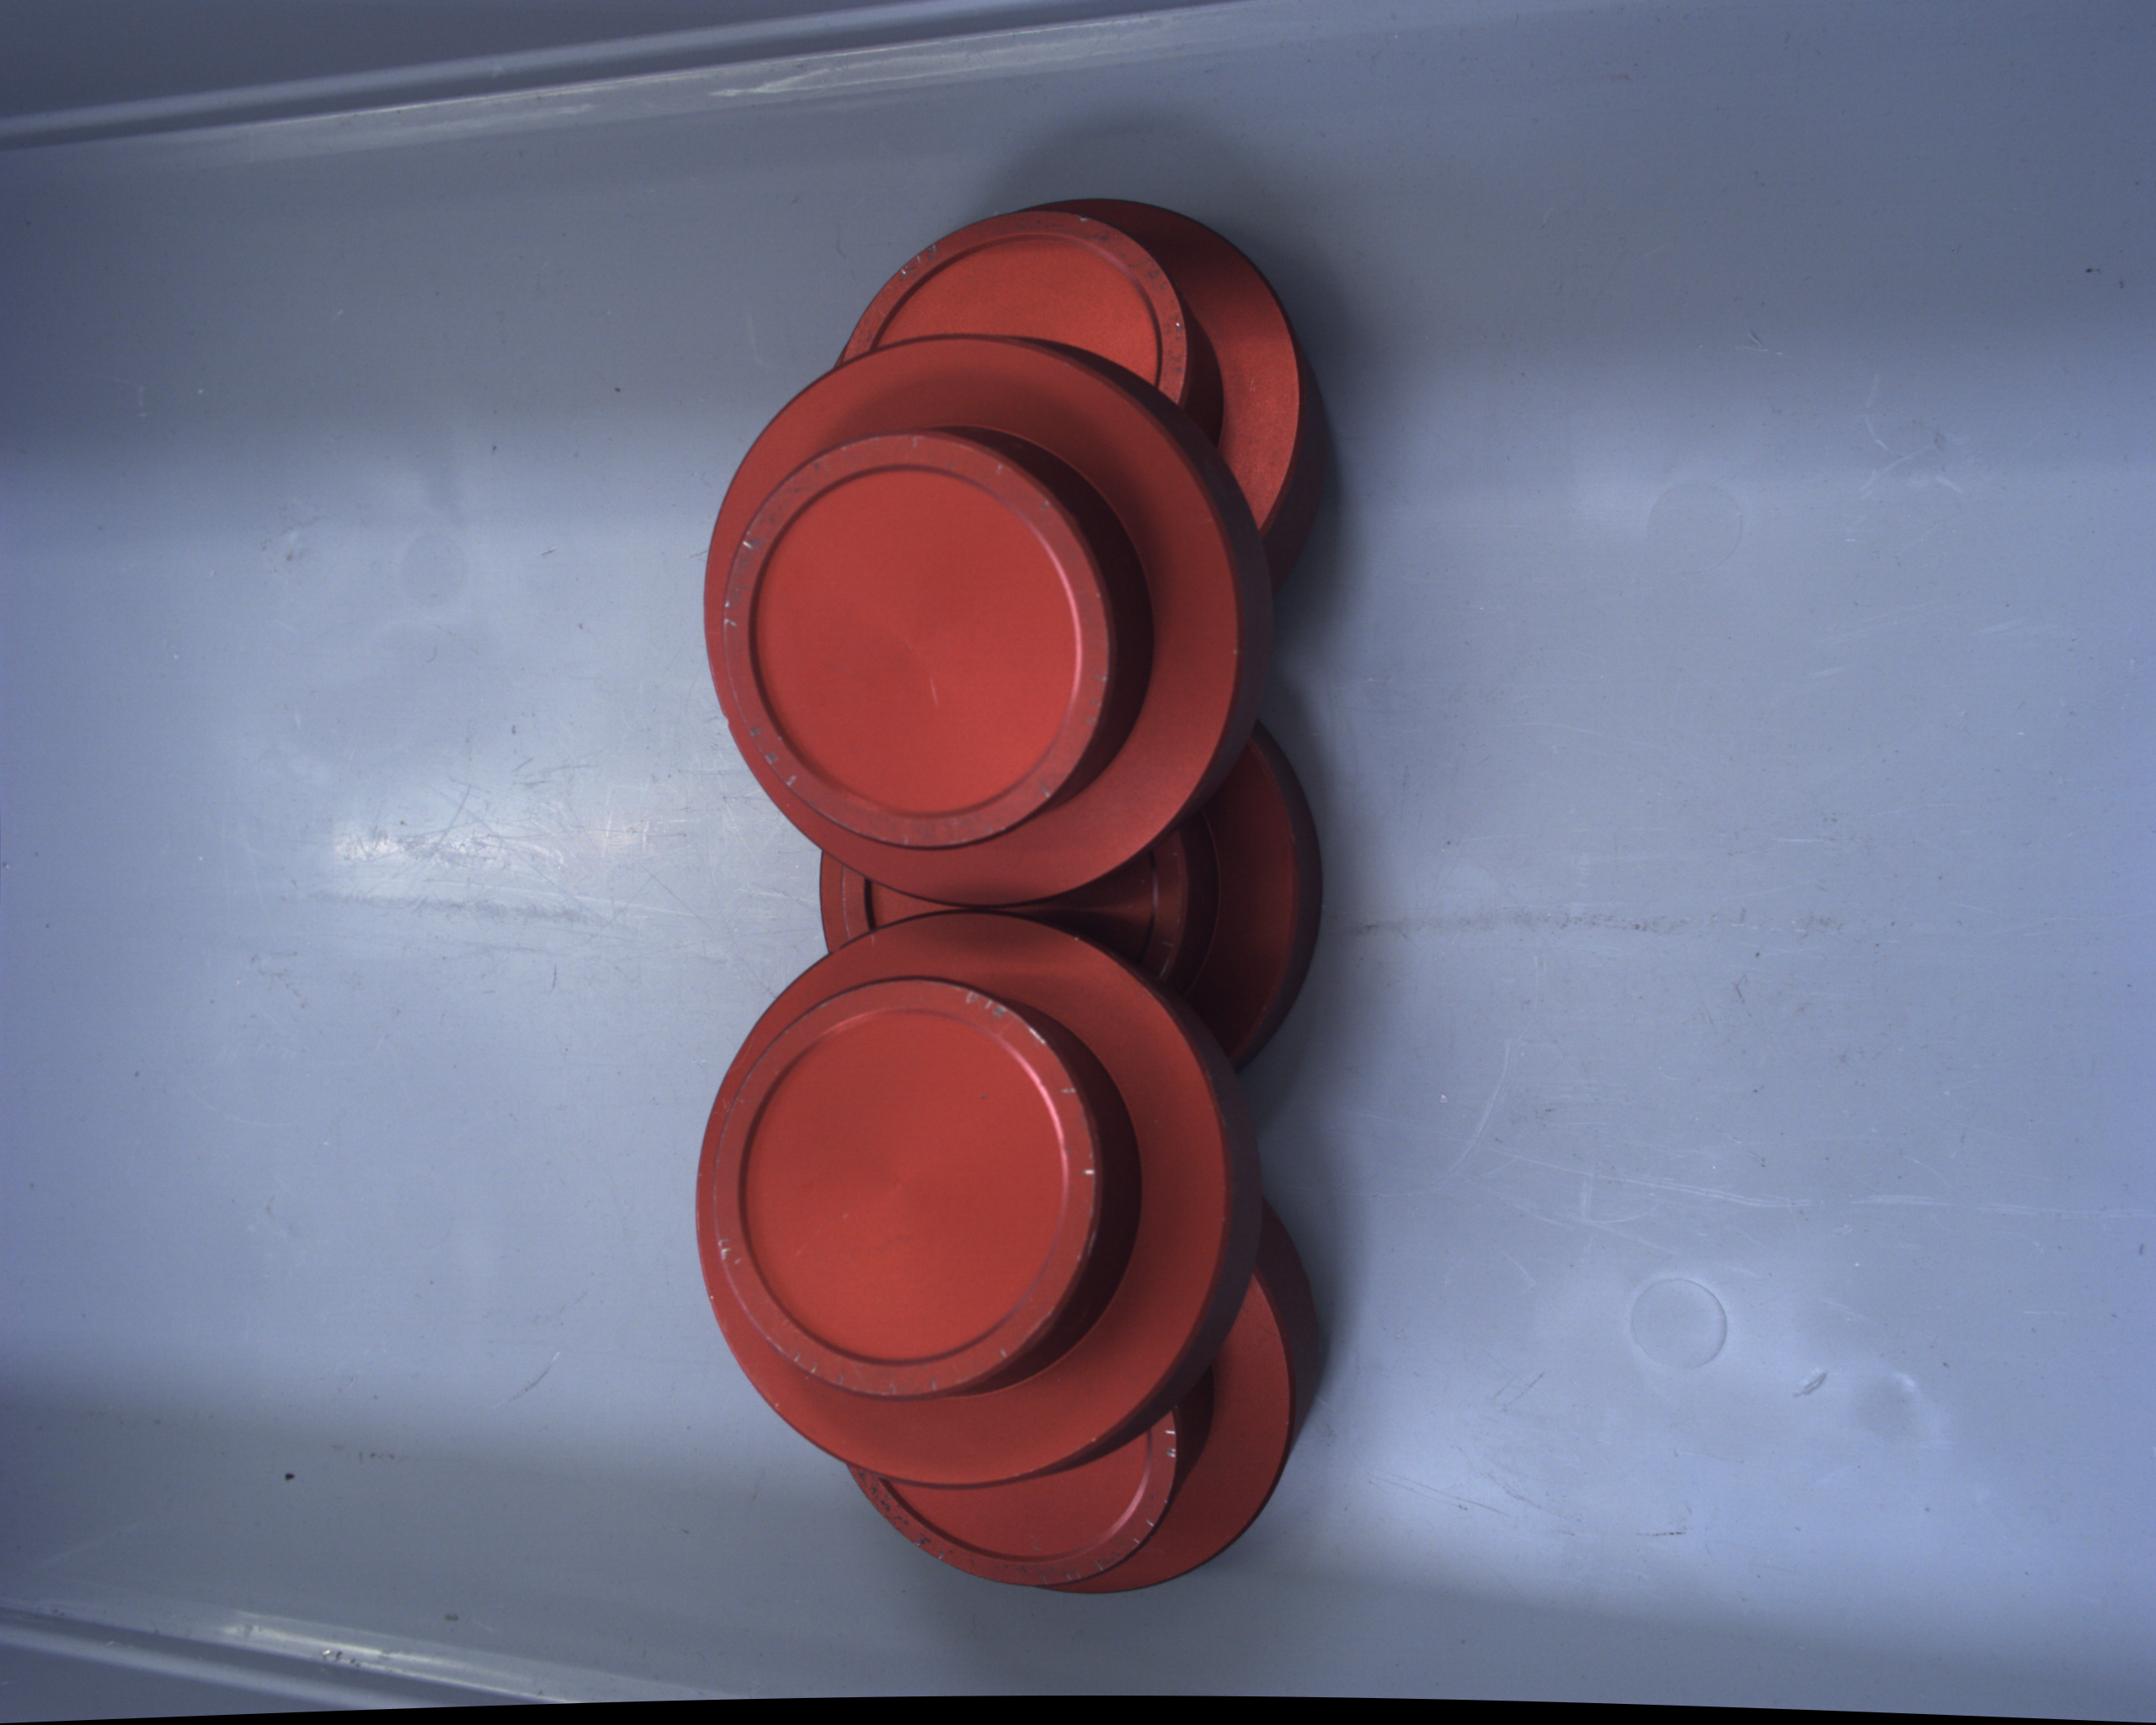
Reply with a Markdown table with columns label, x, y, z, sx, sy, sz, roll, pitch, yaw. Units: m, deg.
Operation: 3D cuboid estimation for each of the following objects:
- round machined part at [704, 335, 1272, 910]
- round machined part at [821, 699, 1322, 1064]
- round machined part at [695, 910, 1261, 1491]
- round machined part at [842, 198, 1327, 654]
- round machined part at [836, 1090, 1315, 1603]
| label | x | y | z | sx | sy | sz | roll | pitch | yaw |
| --- | --- | --- | --- | --- | --- | --- | --- | --- | --- |
| round machined part | -0.020 | -0.039 | 0.352 | 0.098 | 0.042 | 0.097 | 5 | 104 | 19 |
| round machined part | -0.006 | 0.004 | 0.402 | 0.098 | 0.042 | 0.097 | 0 | 89 | 20 |
| round machined part | -0.022 | 0.056 | 0.353 | 0.098 | 0.042 | 0.098 | -4 | 78 | 19 |
| round machined part | -0.006 | -0.082 | 0.390 | 0.098 | 0.042 | 0.098 | -5 | 72 | 18 |
| round machined part | -0.009 | 0.095 | 0.388 | 0.098 | 0.042 | 0.097 | 5 | 107 | 18 |
